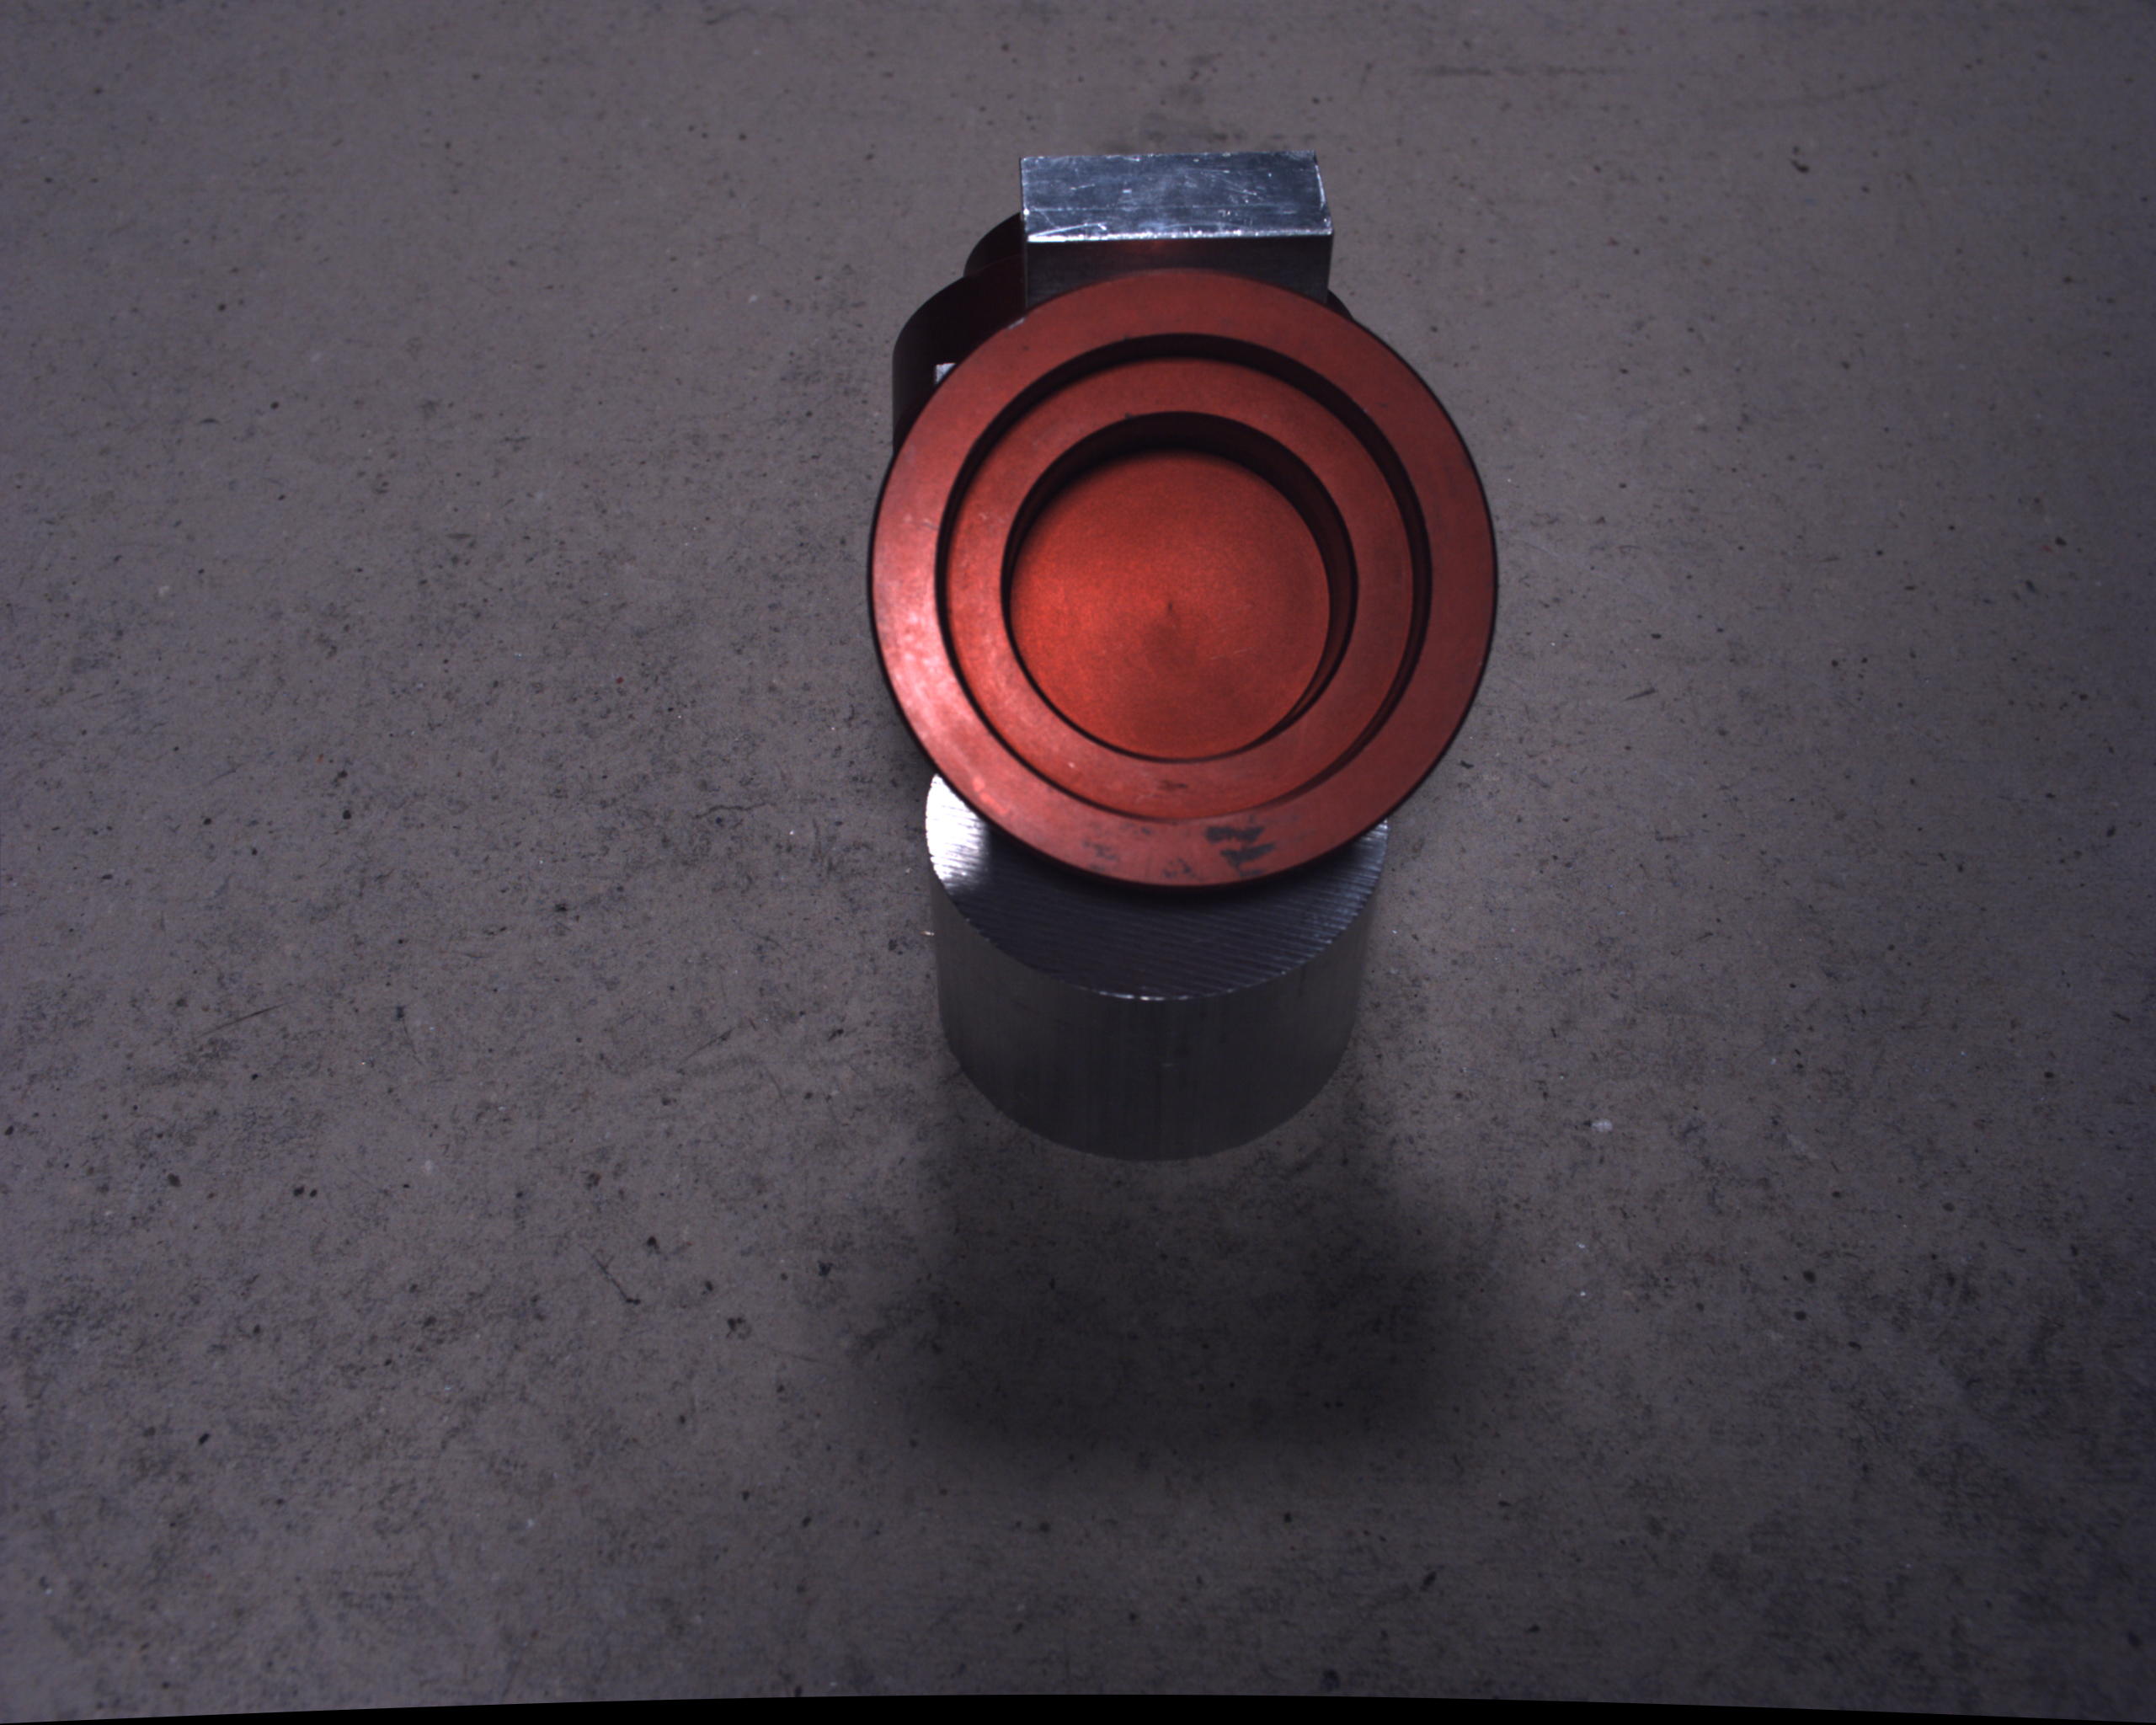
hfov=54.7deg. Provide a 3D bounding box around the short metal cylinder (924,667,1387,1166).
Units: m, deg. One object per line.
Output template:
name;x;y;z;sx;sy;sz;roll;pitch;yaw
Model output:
short metal cylinder;0.013;0.008;0.383;0.081;0.050;0.080;0;50;0

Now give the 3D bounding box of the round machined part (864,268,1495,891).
round machined part;0.016;-0.044;0.345;0.099;0.042;0.097;0;88;-2

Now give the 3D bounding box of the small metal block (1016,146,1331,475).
small metal block;0.015;-0.095;0.364;0.050;0.050;0.025;-2;50;-2

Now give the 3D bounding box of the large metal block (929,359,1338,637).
large metal block;0.013;-0.052;0.412;0.081;0.080;0.050;-2;50;-2

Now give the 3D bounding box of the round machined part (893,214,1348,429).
round machined part;0.010;-0.106;0.441;0.099;0.098;0.042;-2;75;-2
